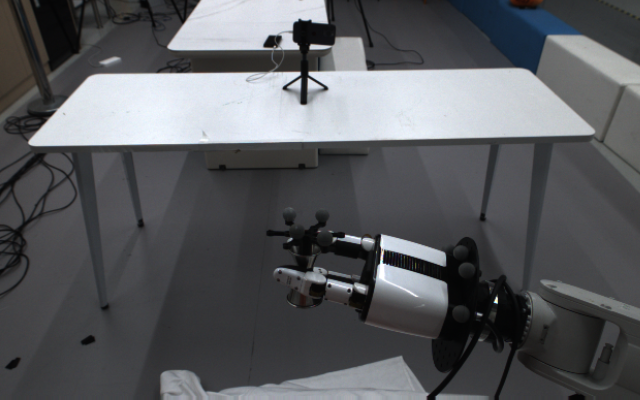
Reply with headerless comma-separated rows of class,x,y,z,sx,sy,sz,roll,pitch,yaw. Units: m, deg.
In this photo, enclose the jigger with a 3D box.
jigger,-0.018,0.085,0.575,0.043,0.071,0.043,1,20,0
